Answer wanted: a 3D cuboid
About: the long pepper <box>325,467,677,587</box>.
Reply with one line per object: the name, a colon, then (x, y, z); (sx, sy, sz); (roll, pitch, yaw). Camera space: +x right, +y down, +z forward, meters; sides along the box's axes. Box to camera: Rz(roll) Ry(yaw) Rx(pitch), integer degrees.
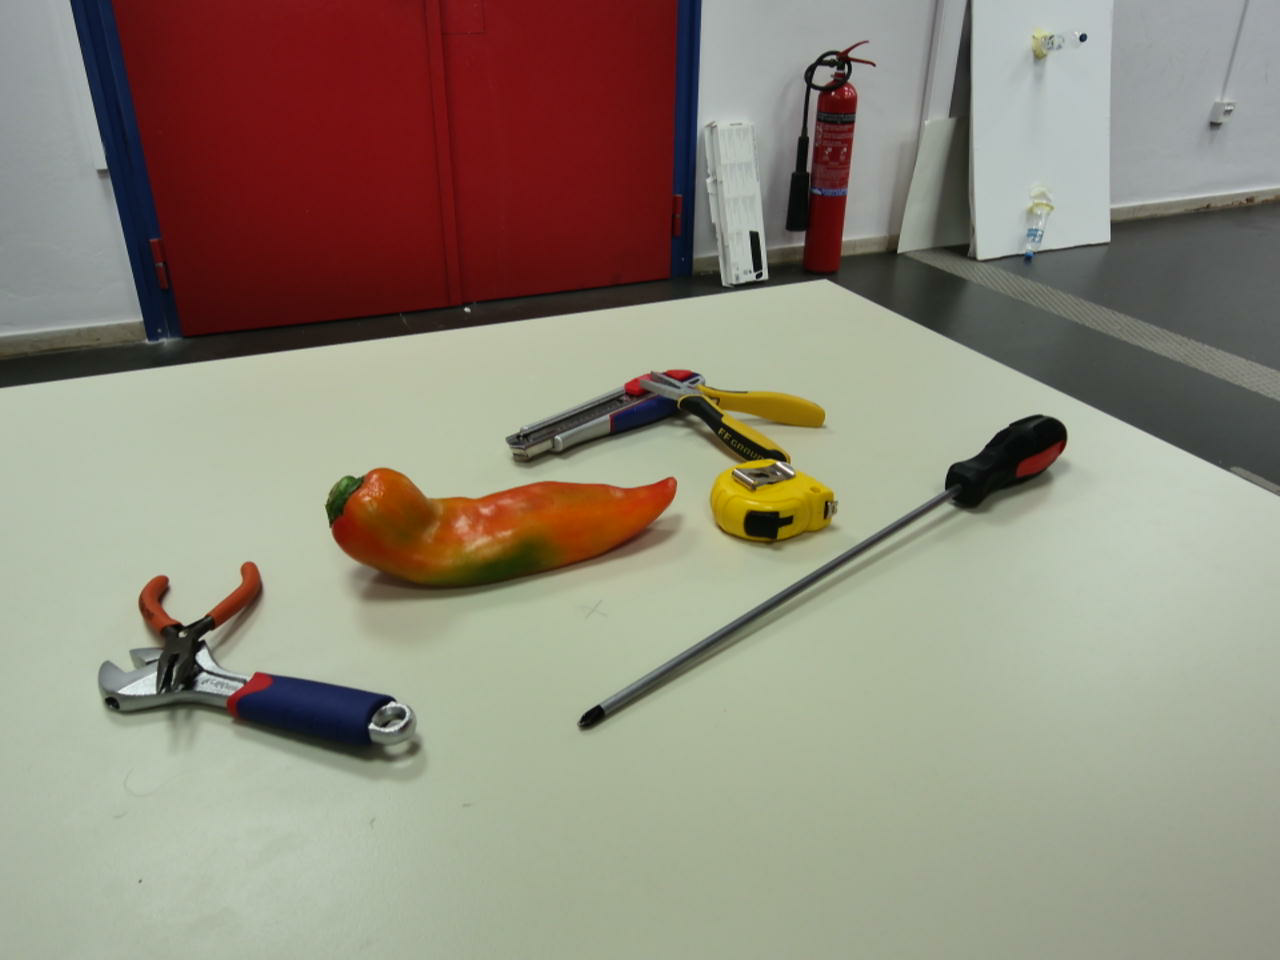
long pepper: (-0.069, 0.014, 0.553); (0.199, 0.065, 0.066); (-9, 28, -18)
